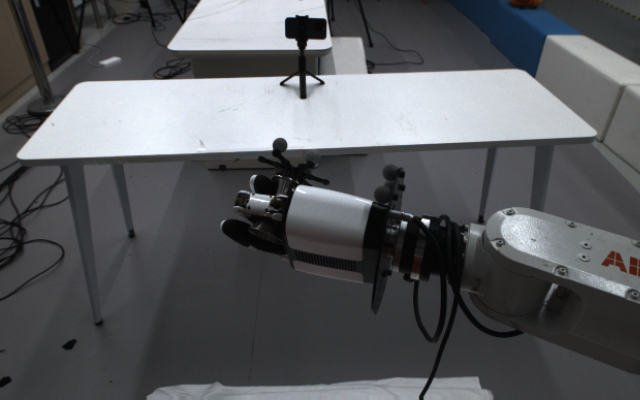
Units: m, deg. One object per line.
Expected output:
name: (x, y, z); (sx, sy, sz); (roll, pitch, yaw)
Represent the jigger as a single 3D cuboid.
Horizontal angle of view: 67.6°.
jigger: (-0.047, 0.010, 0.549); (0.043, 0.043, 0.071); (15, 70, 18)
